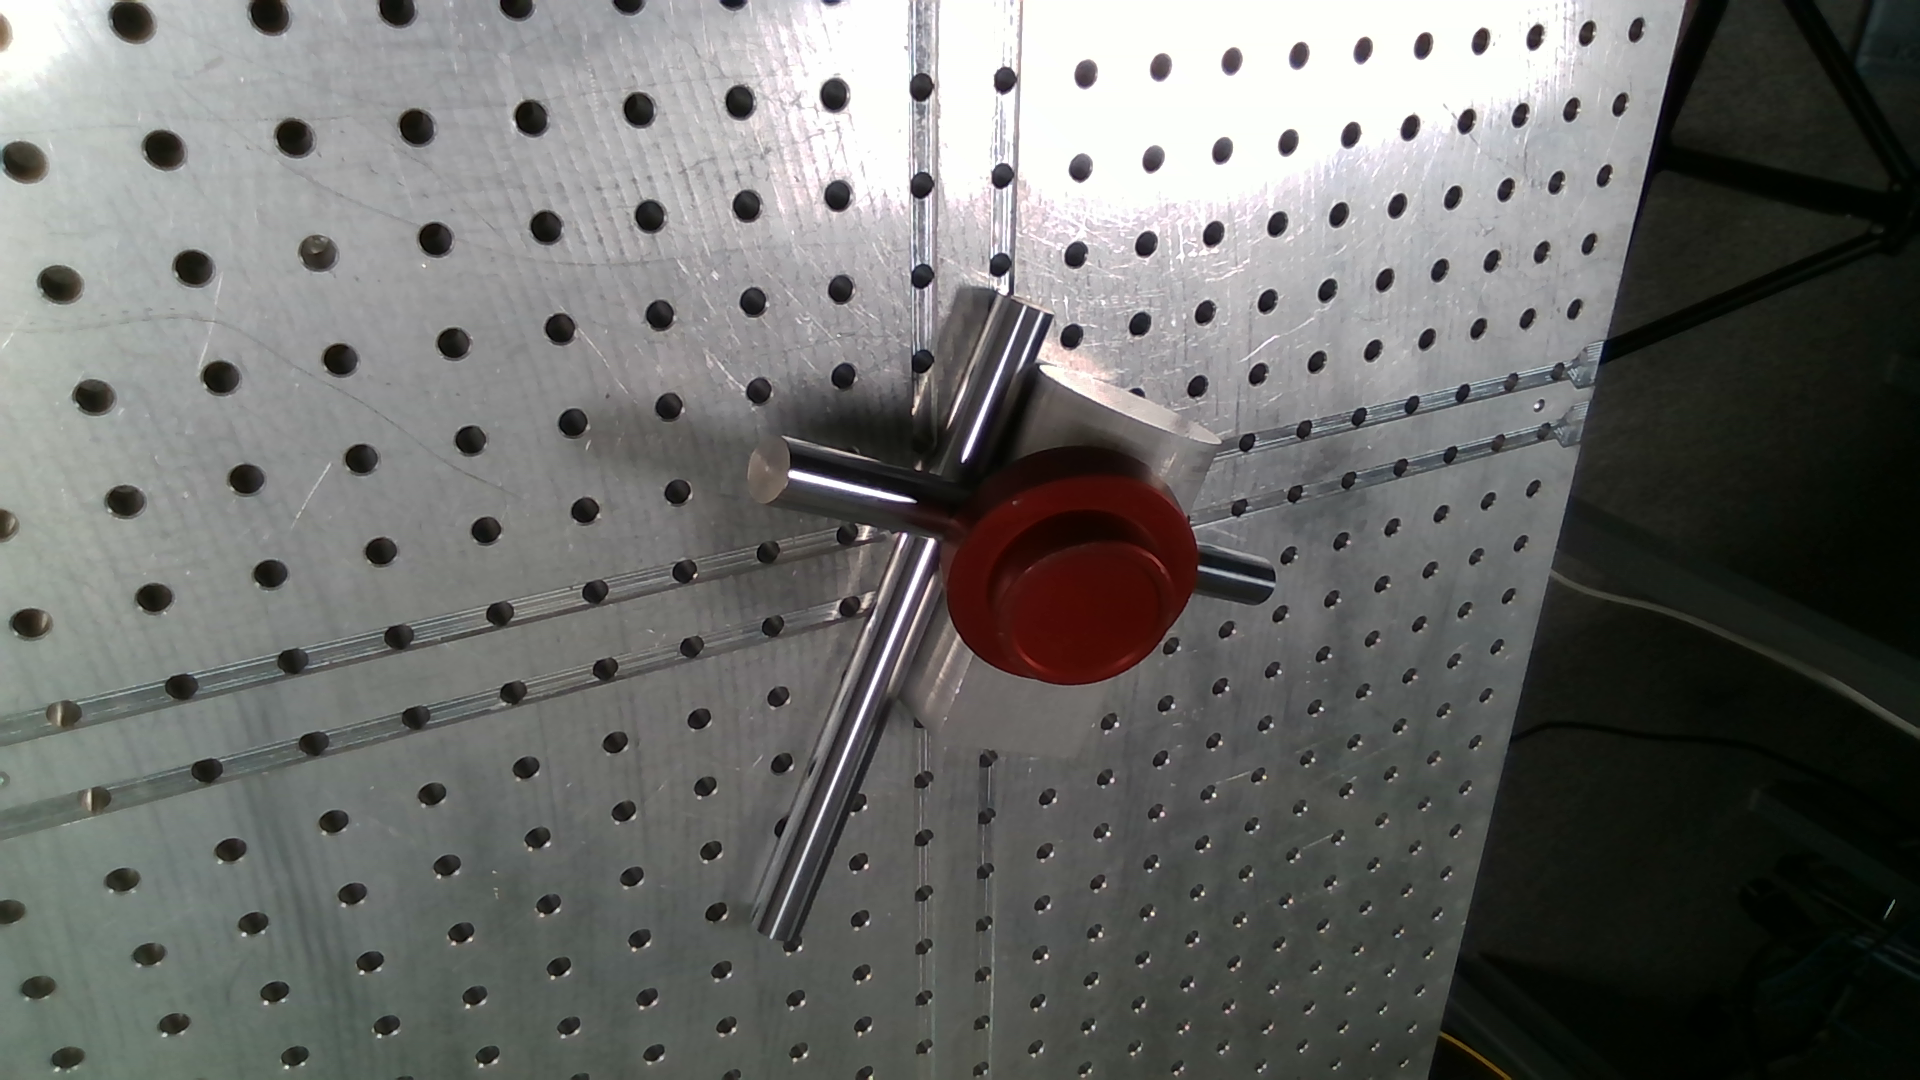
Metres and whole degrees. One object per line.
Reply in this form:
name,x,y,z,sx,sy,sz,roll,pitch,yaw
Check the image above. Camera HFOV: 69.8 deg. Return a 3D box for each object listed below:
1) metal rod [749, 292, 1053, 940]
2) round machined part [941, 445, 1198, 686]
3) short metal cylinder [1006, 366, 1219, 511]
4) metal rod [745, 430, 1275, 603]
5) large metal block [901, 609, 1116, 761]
metal rod,-0.029,0.040,0.587,0.025,0.025,0.300,11,108,-35
round machined part,0.043,0.016,0.524,0.098,0.042,0.098,-5,125,-7
short metal cylinder,0.060,-0.034,0.566,0.080,0.080,0.050,12,108,-35
metal rod,0.039,-0.003,0.581,0.300,0.025,0.025,12,108,-43
large metal block,0.025,0.046,0.603,0.080,0.050,0.080,13,108,-36
